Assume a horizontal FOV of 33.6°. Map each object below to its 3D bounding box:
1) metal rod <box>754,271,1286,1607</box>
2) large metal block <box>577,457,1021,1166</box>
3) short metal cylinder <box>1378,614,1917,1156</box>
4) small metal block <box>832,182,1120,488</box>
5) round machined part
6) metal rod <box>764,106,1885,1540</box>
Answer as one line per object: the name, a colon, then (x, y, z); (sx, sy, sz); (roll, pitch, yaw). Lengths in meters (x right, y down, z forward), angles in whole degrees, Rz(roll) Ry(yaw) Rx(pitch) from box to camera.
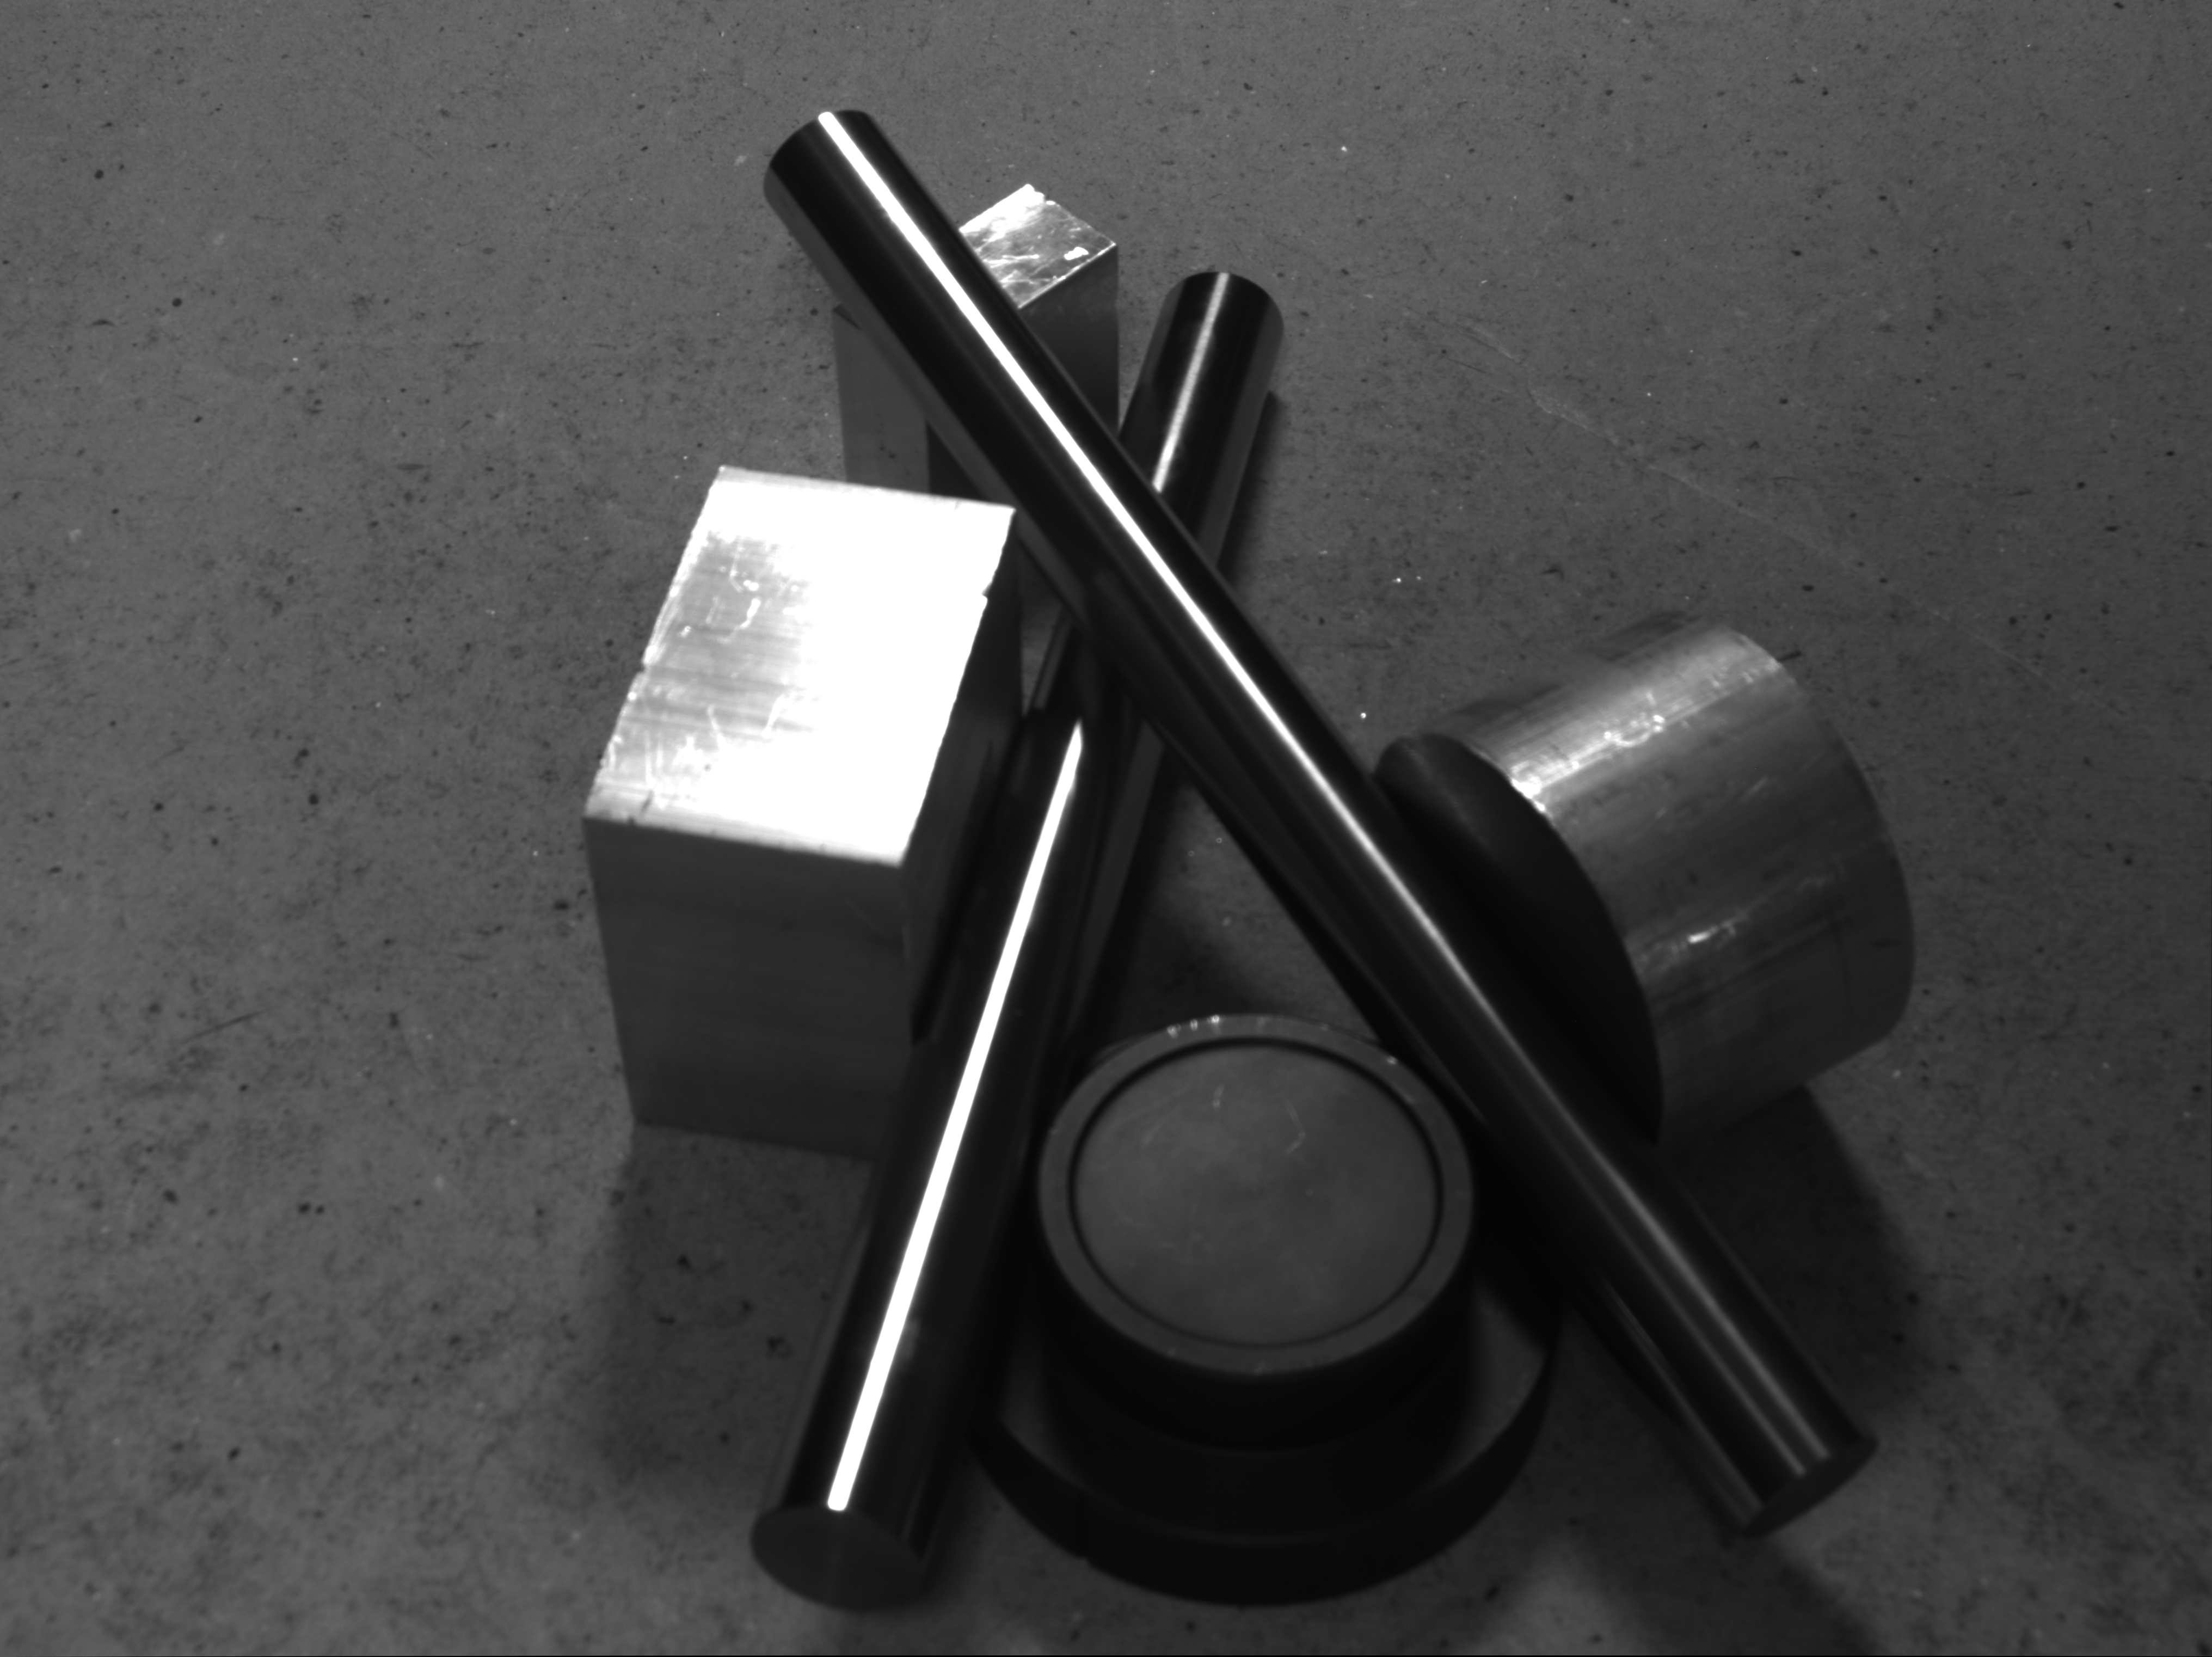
metal rod: (-0.007, 0.001, 0.622); (0.025, 0.025, 0.300); (9, 44, 8)
large metal block: (-0.047, -0.002, 0.608); (0.050, 0.080, 0.080); (9, 50, 8)
short metal cylinder: (0.086, 0.012, 0.597); (0.050, 0.080, 0.080); (-25, 54, -20)
small metal block: (-0.024, -0.087, 0.699); (0.050, 0.050, 0.025); (-37, 59, -27)
round machined part: (0.023, 0.069, 0.574); (0.098, 0.042, 0.098); (0, 50, 0)
metal rod: (0.027, -0.012, 0.608); (0.025, 0.025, 0.299); (-26, 63, -20)
